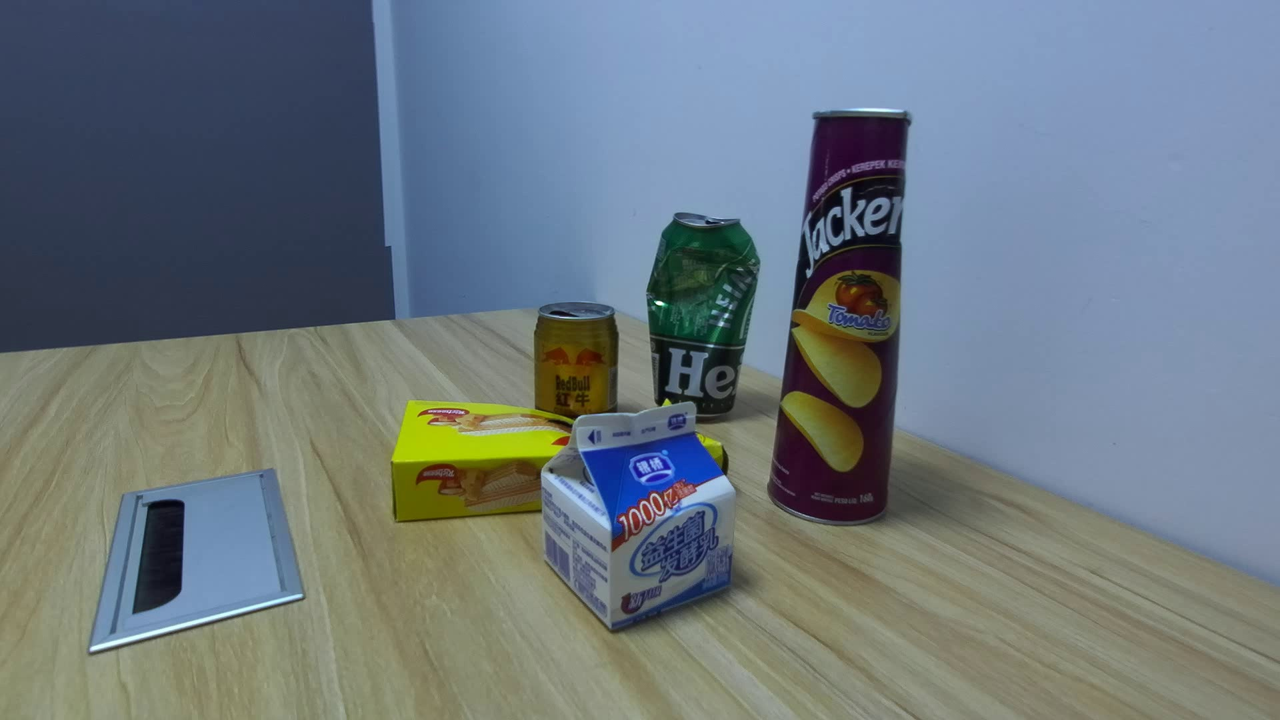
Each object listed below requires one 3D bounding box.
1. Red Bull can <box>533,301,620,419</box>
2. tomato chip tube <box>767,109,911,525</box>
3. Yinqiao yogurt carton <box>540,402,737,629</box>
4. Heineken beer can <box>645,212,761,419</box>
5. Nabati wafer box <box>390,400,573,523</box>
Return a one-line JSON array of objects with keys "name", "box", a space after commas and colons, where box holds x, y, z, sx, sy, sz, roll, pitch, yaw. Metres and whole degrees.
[{"name": "Red Bull can", "box": [-0.050, 0.006, 0.560, 0.067, 0.093, 0.067, 2, 13, 0]}, {"name": "tomato chip tube", "box": [0.124, -0.024, 0.425, 0.076, 0.235, 0.078, 15, 19, 38]}, {"name": "Yinqiao yogurt carton", "box": [-0.001, 0.067, 0.355, 0.076, 0.092, 0.073, -8, 19, -32]}, {"name": "Heineken beer can", "box": [0.047, -0.034, 0.578, 0.066, 0.164, 0.077, -8, 21, -28]}, {"name": "Nabati wafer box", "box": [-0.053, 0.059, 0.472, 0.205, 0.042, 0.106, -1, 18, -12]}]
